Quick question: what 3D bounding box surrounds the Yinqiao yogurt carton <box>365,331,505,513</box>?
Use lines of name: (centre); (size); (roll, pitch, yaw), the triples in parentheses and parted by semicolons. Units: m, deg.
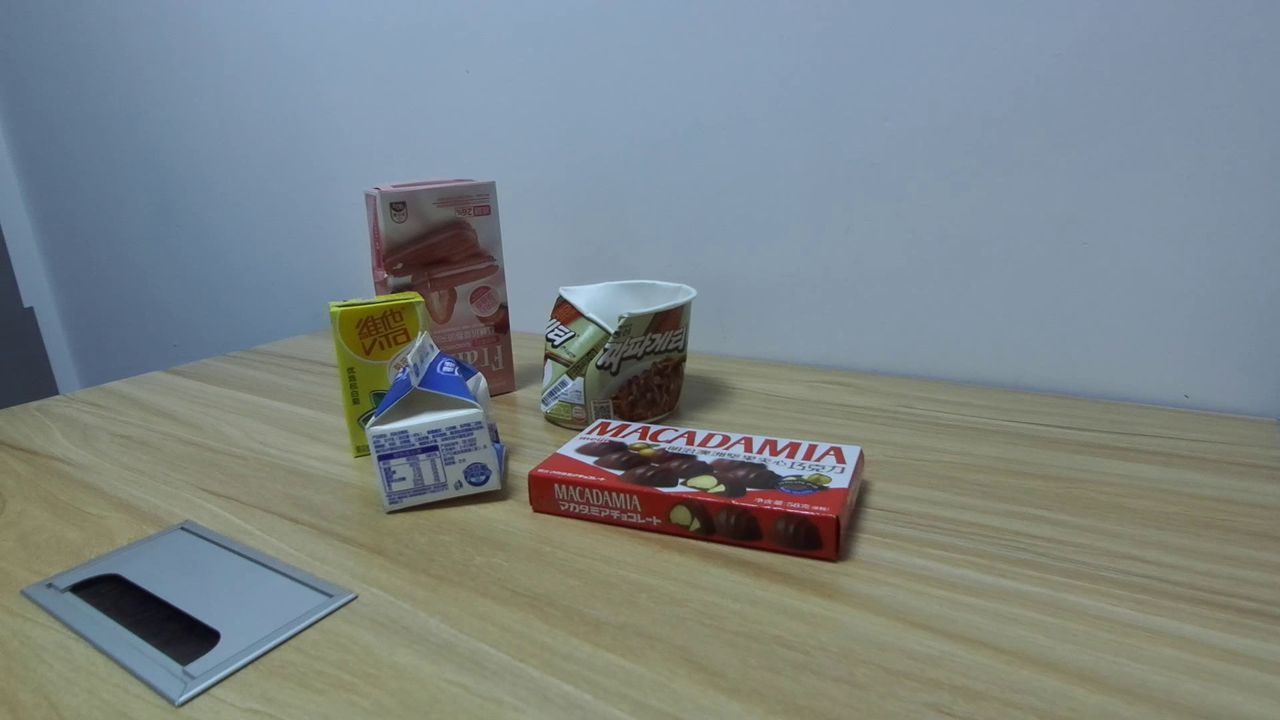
Yinqiao yogurt carton: (-0.129, 0.034, 0.448); (0.071, 0.094, 0.077); (-10, 17, -5)

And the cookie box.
cookie box: (-0.169, -0.055, 0.598); (0.105, 0.187, 0.048); (-13, 20, -30)

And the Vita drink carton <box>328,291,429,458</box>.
Vita drink carton: (-0.186, 0.009, 0.522); (0.067, 0.109, 0.043); (-10, 17, -23)
